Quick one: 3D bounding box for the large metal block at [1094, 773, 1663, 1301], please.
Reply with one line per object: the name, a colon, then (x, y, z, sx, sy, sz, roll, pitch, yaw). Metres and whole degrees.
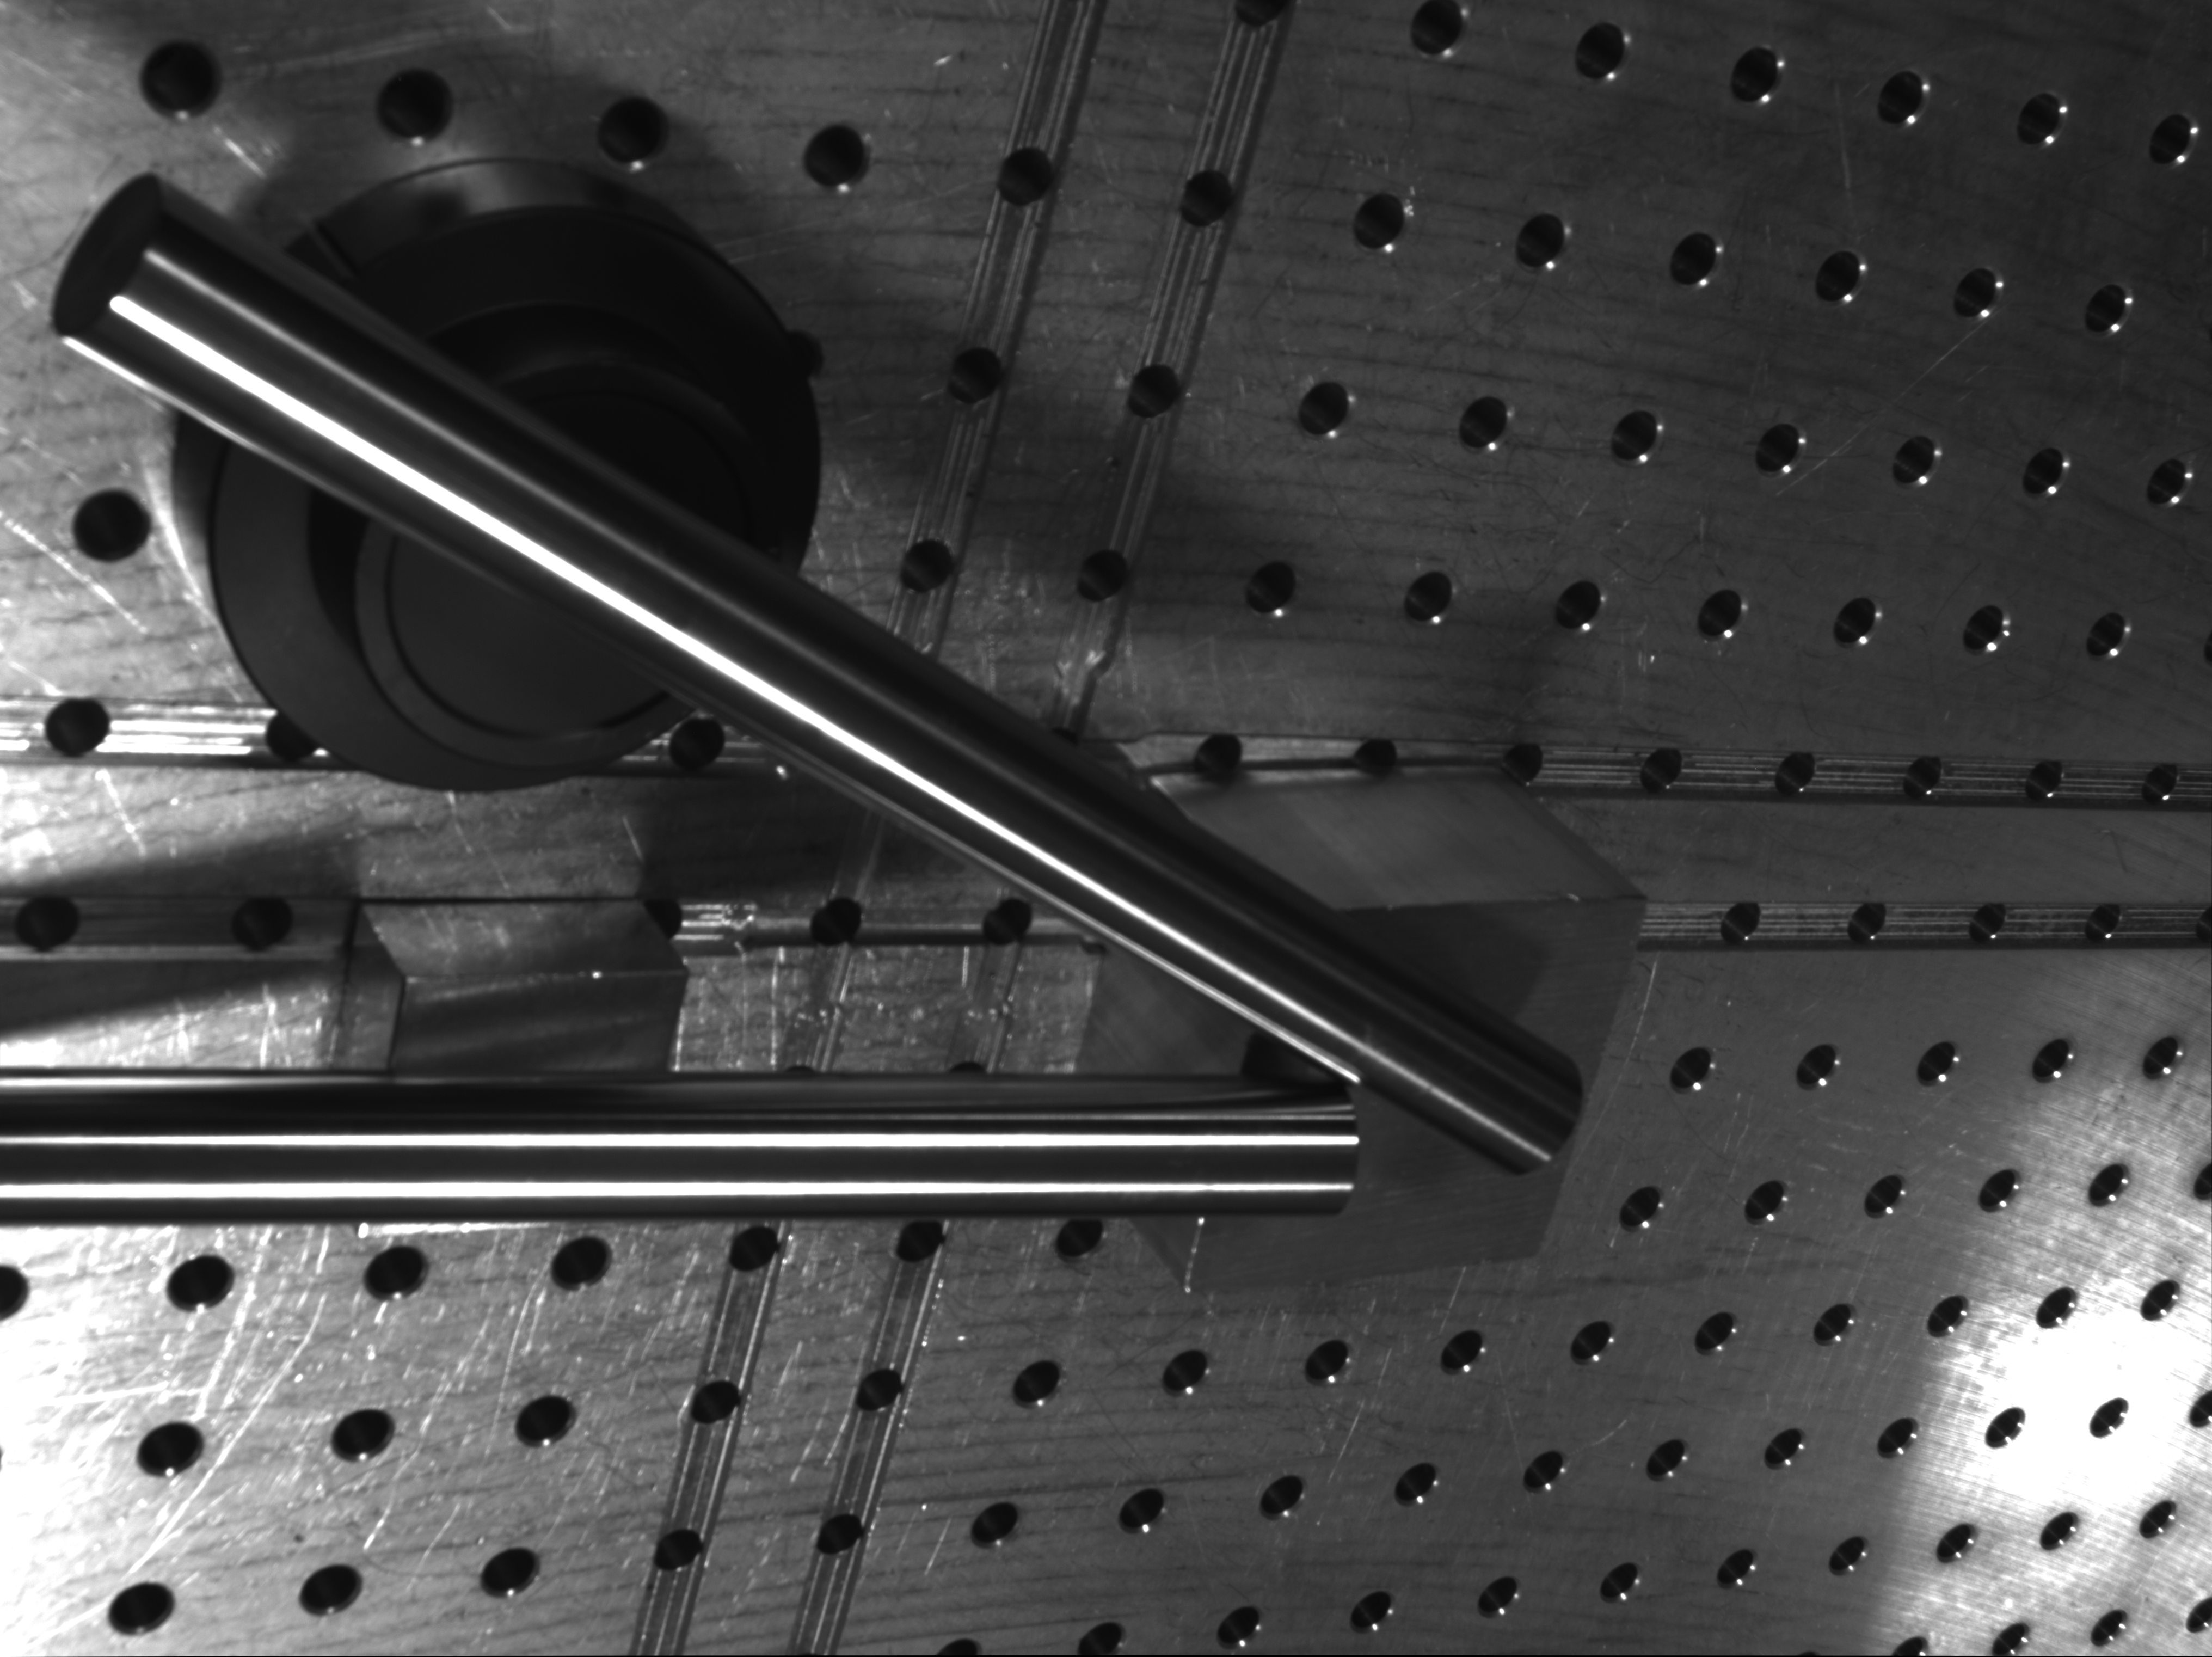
large metal block: (0.048, 0.037, 0.685, 0.080, 0.050, 0.080, -2, 119, -29)

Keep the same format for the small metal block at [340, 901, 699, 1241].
small metal block: (-0.101, 0.040, 0.620, 0.050, 0.025, 0.050, 0, 118, -30)

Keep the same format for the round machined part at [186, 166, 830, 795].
round machined part: (-0.087, -0.048, 0.562, 0.098, 0.042, 0.098, -15, 125, -22)

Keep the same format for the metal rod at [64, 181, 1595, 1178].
metal rod: (-0.026, -0.011, 0.569, 0.301, 0.025, 0.025, 31, 100, -37)

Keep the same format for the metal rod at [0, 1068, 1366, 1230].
metal rod: (-0.101, 0.052, 0.591, 0.301, 0.025, 0.025, 2, 118, -19)
